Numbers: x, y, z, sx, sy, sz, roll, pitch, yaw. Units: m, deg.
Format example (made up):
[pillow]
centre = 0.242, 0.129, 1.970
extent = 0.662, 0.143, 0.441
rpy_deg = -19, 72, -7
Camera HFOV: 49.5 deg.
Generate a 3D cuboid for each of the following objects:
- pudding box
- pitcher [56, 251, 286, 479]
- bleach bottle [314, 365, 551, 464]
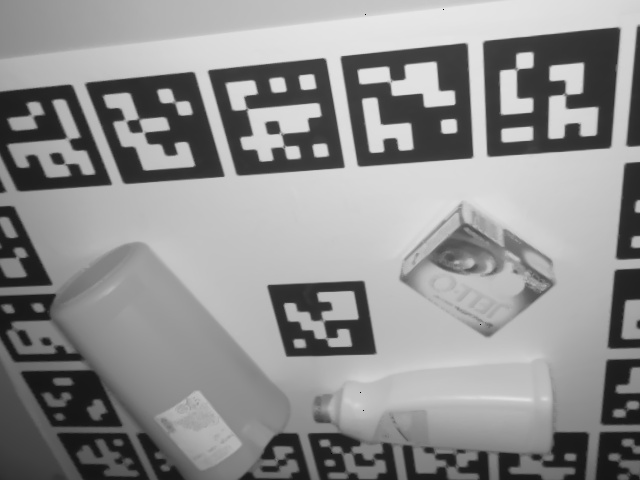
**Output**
[pudding box]
centre = 0.142, 0.041, 0.657
extent = 0.114, 0.039, 0.088
rpy_deg = 35, 126, -12
[pitcher]
centre = -0.160, 0.134, 0.733
extent = 0.186, 0.135, 0.242
rpy_deg = -8, 122, 55
[bleach bottle]
centre = 0.115, 0.195, 0.750
extent = 0.249, 0.069, 0.102
rpy_deg = -6, 117, 15
